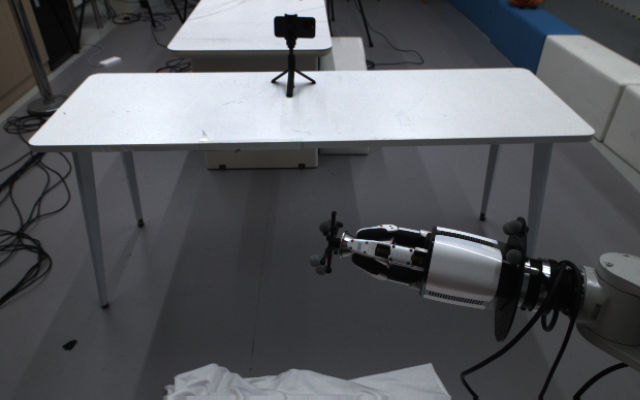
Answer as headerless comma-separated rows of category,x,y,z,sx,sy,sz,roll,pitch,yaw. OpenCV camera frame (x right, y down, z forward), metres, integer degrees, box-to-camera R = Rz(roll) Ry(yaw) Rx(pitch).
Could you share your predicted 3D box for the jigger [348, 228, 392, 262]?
jigger,0.071,0.061,0.656,0.071,0.043,0.043,7,35,16
